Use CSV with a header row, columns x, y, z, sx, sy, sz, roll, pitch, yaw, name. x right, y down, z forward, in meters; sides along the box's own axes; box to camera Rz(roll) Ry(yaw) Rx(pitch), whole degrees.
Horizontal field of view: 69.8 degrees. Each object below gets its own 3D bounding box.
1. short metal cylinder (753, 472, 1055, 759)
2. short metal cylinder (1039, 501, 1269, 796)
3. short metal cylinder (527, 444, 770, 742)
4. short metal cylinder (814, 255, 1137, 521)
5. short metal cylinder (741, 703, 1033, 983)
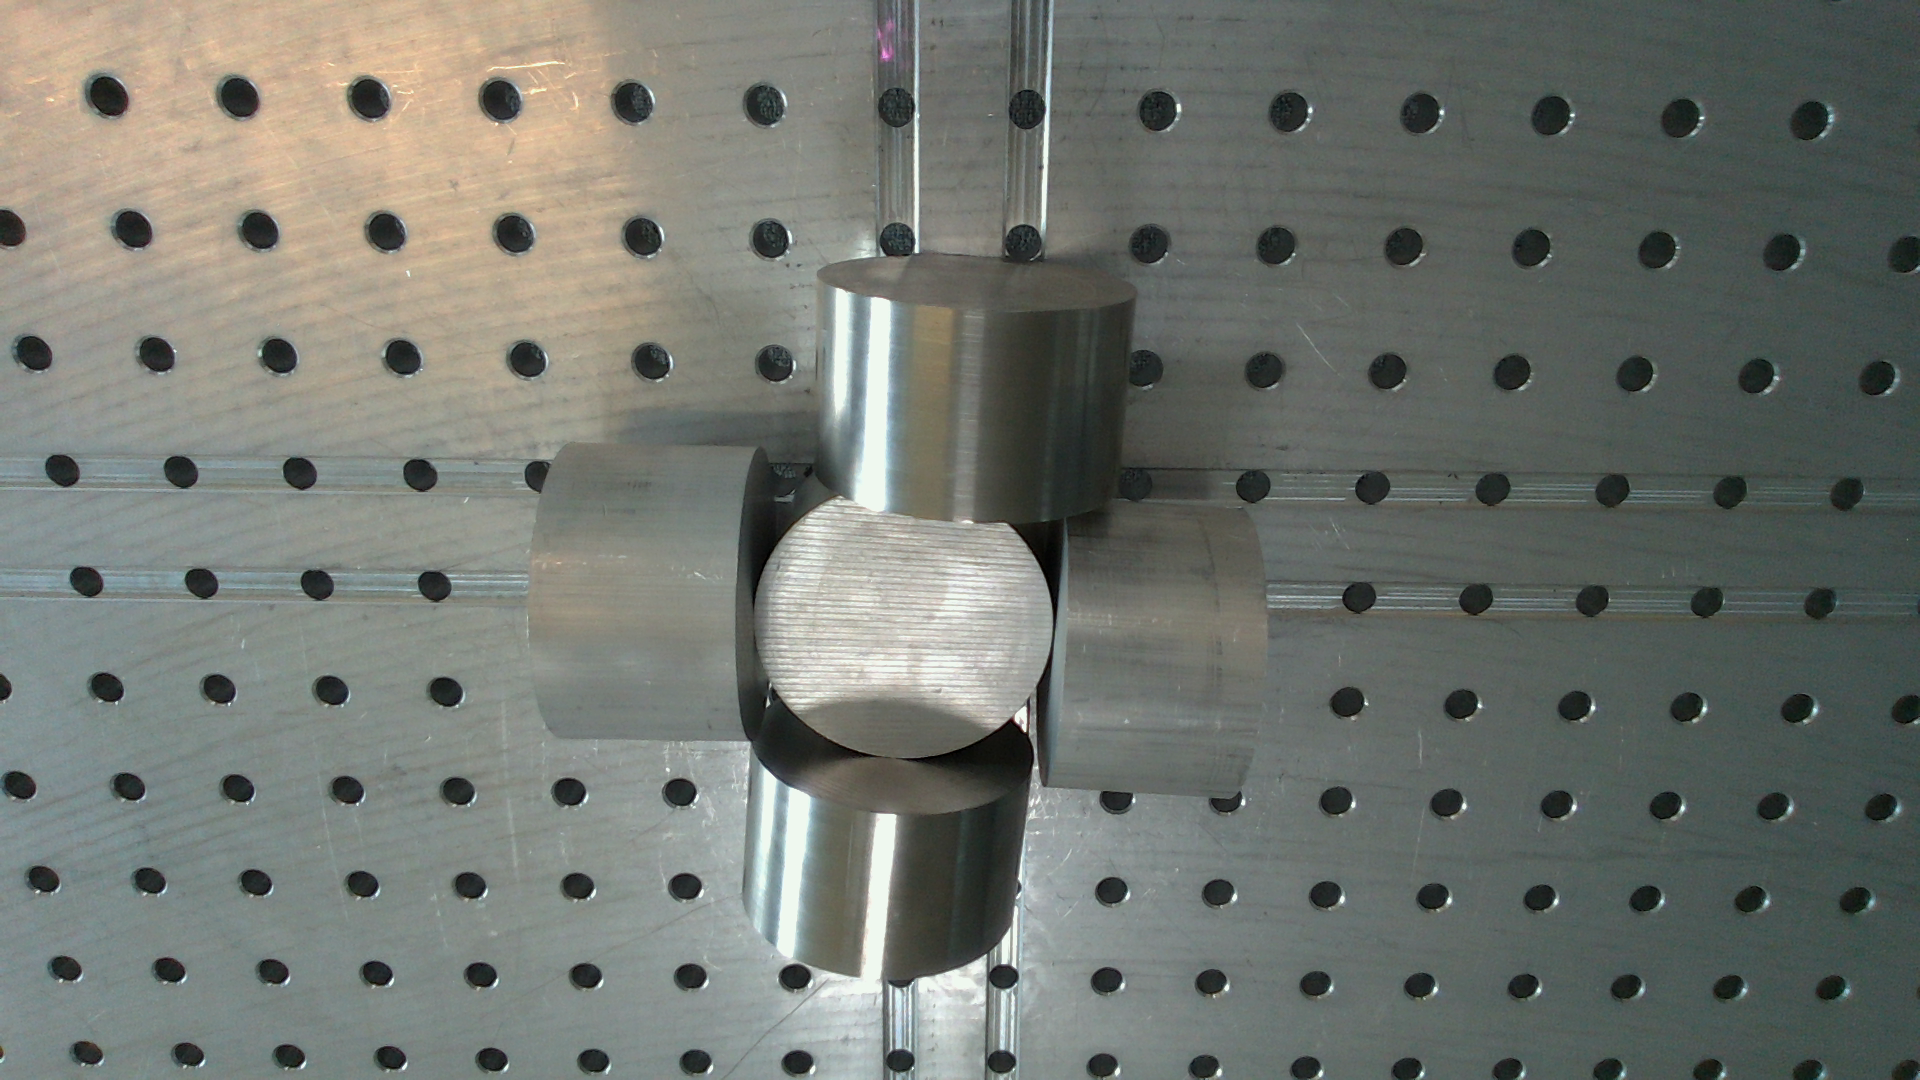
x,y,z,sx,sy,sz,roll,pitch,yaw,name
-0.015,0.014,0.389,0.080,0.050,0.080,-1,110,-1,short metal cylinder
0.050,0.029,0.379,0.050,0.080,0.080,3,110,-2,short metal cylinder
-0.080,0.014,0.372,0.050,0.080,0.080,1,110,-1,short metal cylinder
0.003,-0.042,0.352,0.080,0.080,0.050,3,110,-1,short metal cylinder
-0.022,0.081,0.396,0.080,0.080,0.050,6,110,-2,short metal cylinder
